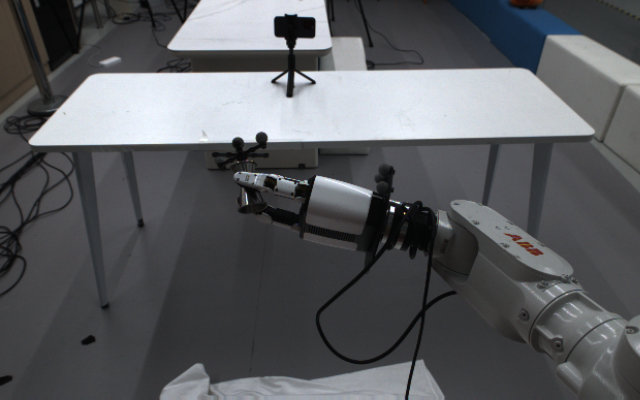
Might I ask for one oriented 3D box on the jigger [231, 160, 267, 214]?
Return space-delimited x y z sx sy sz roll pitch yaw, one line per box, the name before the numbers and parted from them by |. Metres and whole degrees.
jigger | -0.104 -0.019 0.699 0.043 0.043 0.071 -10 73 -16
